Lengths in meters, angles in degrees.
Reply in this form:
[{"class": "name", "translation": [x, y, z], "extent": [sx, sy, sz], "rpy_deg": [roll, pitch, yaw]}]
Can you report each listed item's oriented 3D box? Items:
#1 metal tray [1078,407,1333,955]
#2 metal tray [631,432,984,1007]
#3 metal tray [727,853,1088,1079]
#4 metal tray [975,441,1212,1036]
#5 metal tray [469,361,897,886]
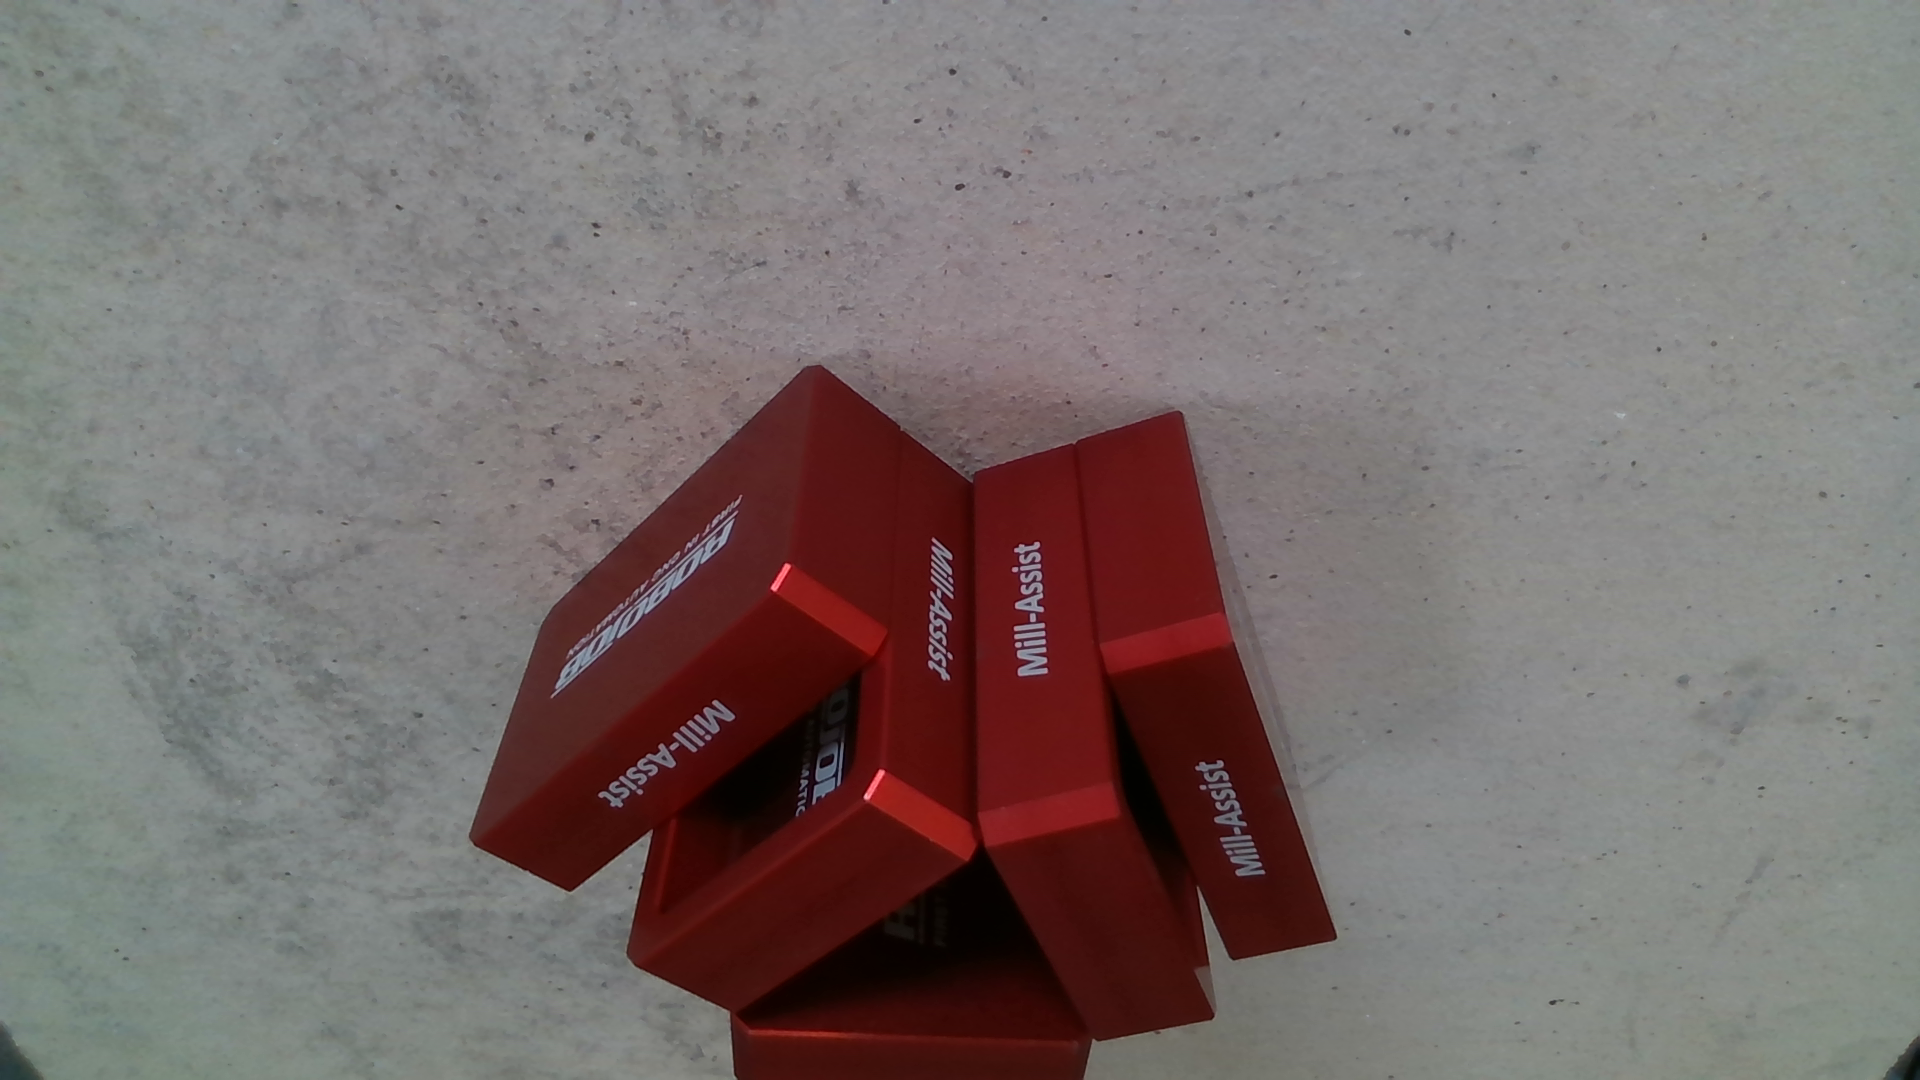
[{"class": "metal tray", "translation": [0.068, 0.041, 0.380], "extent": [0.030, 0.090, 0.130], "rpy_deg": [-16, 129, 13]}, {"class": "metal tray", "translation": [-0.036, 0.041, 0.354], "extent": [0.030, 0.130, 0.090], "rpy_deg": [36, 122, -27]}, {"class": "metal tray", "translation": [-0.013, 0.090, 0.396], "extent": [0.090, 0.130, 0.030], "rpy_deg": [4, 130, -3]}, {"class": "metal tray", "translation": [0.033, 0.047, 0.360], "extent": [0.030, 0.130, 0.090], "rpy_deg": [-16, 128, 13]}, {"class": "metal tray", "translation": [-0.072, 0.022, 0.364], "extent": [0.030, 0.090, 0.130], "rpy_deg": [36, 121, -26]}]
